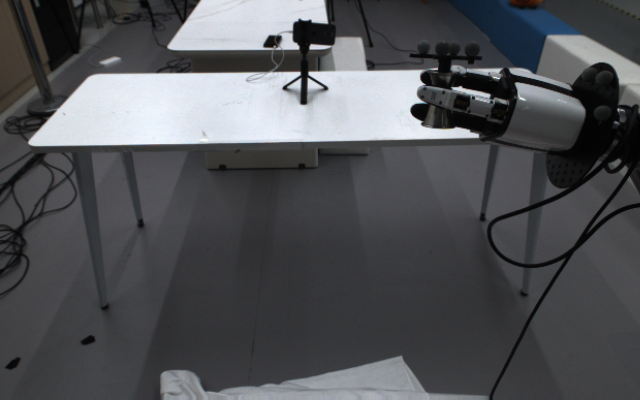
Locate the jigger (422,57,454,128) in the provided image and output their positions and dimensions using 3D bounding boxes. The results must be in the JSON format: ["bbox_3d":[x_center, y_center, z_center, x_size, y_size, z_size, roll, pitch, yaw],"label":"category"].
[{"bbox_3d":[0.152,-0.129,0.618,0.043,0.071,0.043,1,20,0],"label":"jigger"}]
